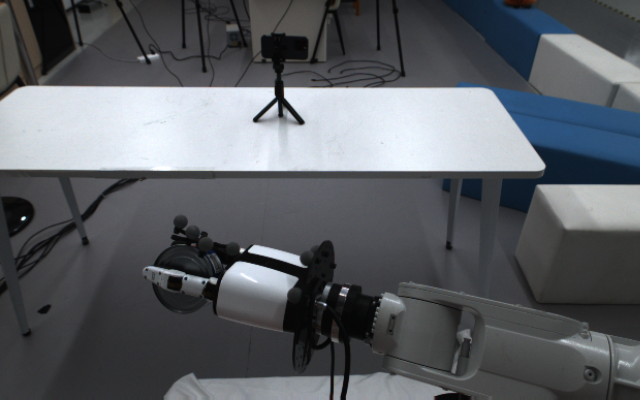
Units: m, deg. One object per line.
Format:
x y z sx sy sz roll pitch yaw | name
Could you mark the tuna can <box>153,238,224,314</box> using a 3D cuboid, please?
-0.162 0.097 0.607 0.085 0.085 0.034 13 3 16 | tuna can
